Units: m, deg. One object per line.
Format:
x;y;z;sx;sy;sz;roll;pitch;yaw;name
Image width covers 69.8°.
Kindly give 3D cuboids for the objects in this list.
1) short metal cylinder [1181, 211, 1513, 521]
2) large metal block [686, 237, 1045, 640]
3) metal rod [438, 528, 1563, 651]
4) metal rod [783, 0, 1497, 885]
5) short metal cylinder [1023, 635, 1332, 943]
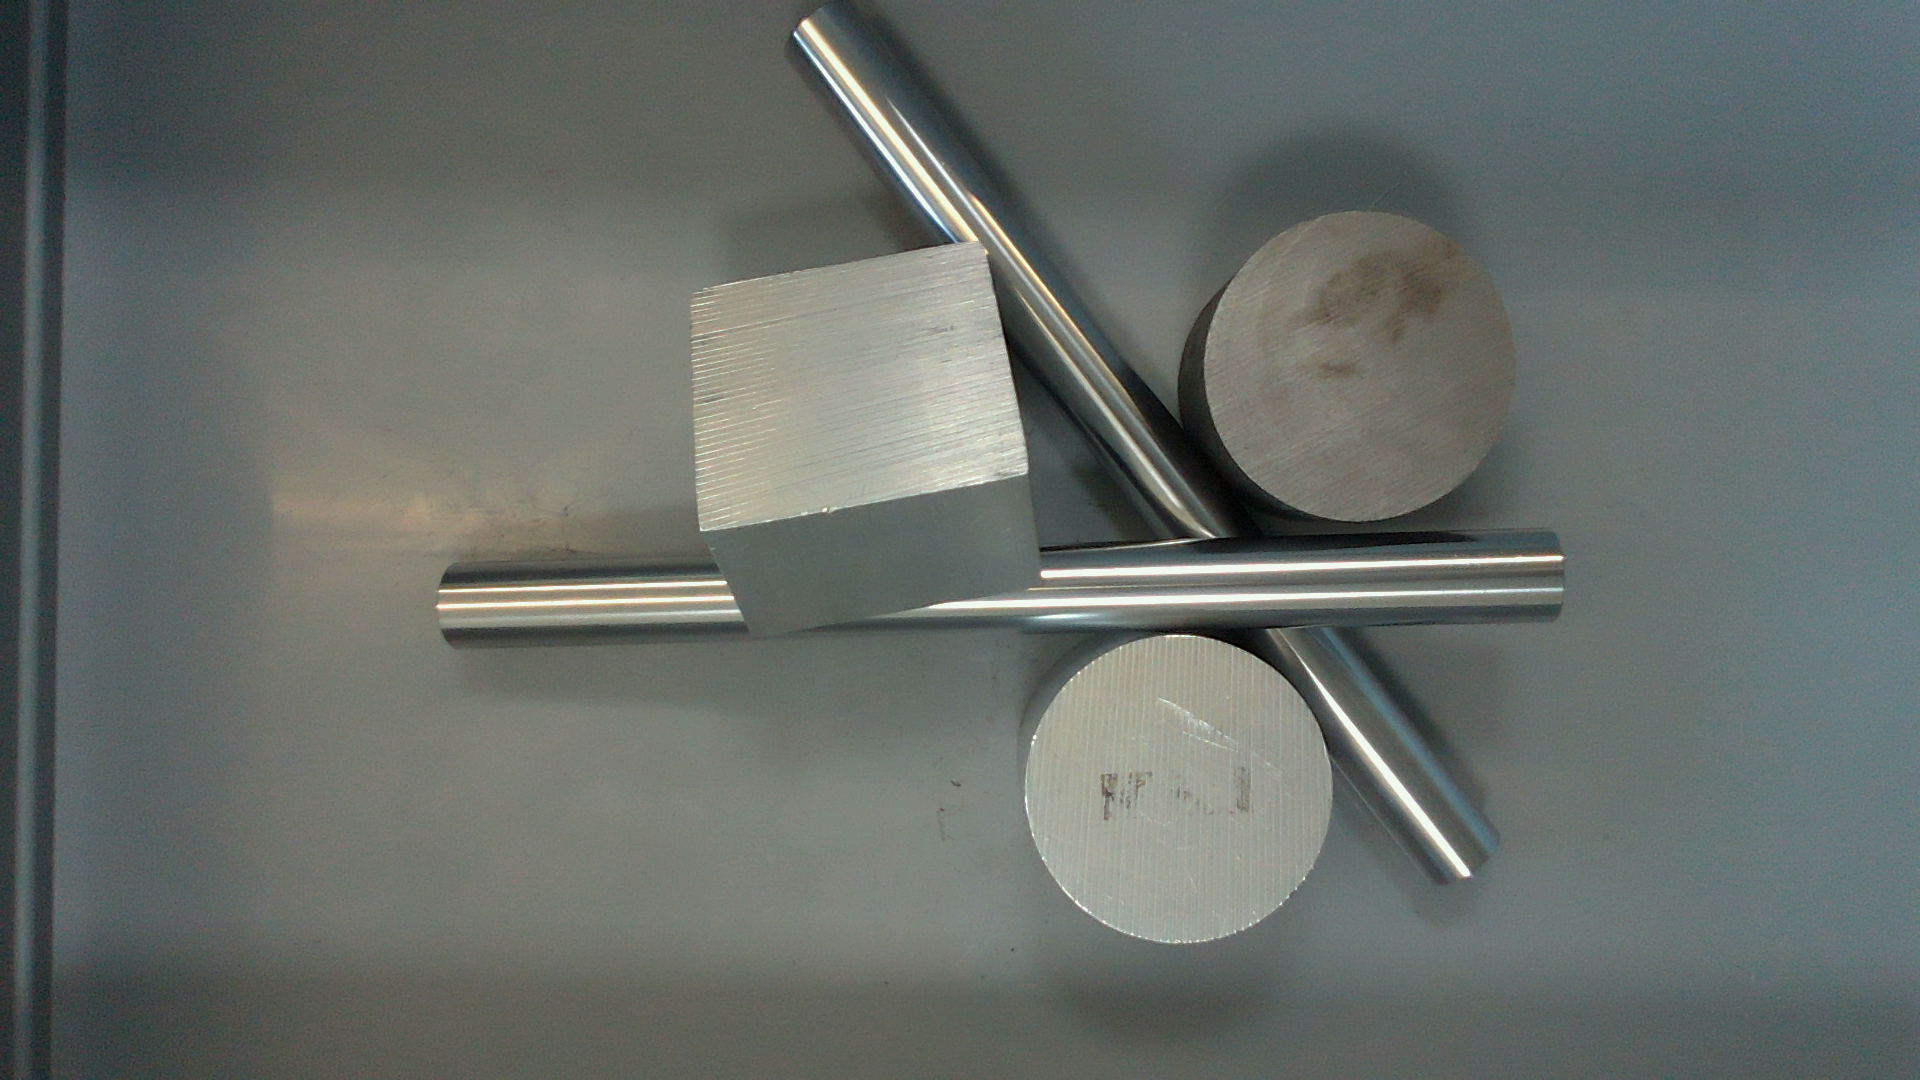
0.104;-0.045;0.382;0.080;0.050;0.080;0;90;0;short metal cylinder
-0.025;-0.027;0.363;0.080;0.050;0.080;-10;55;0;large metal block
0.006;0.014;0.377;0.300;0.025;0.025;-2;90;6;metal rod
0.051;-0.028;0.395;0.025;0.025;0.300;-38;90;0;metal rod
0.057;0.065;0.382;0.080;0.050;0.080;0;90;0;short metal cylinder
